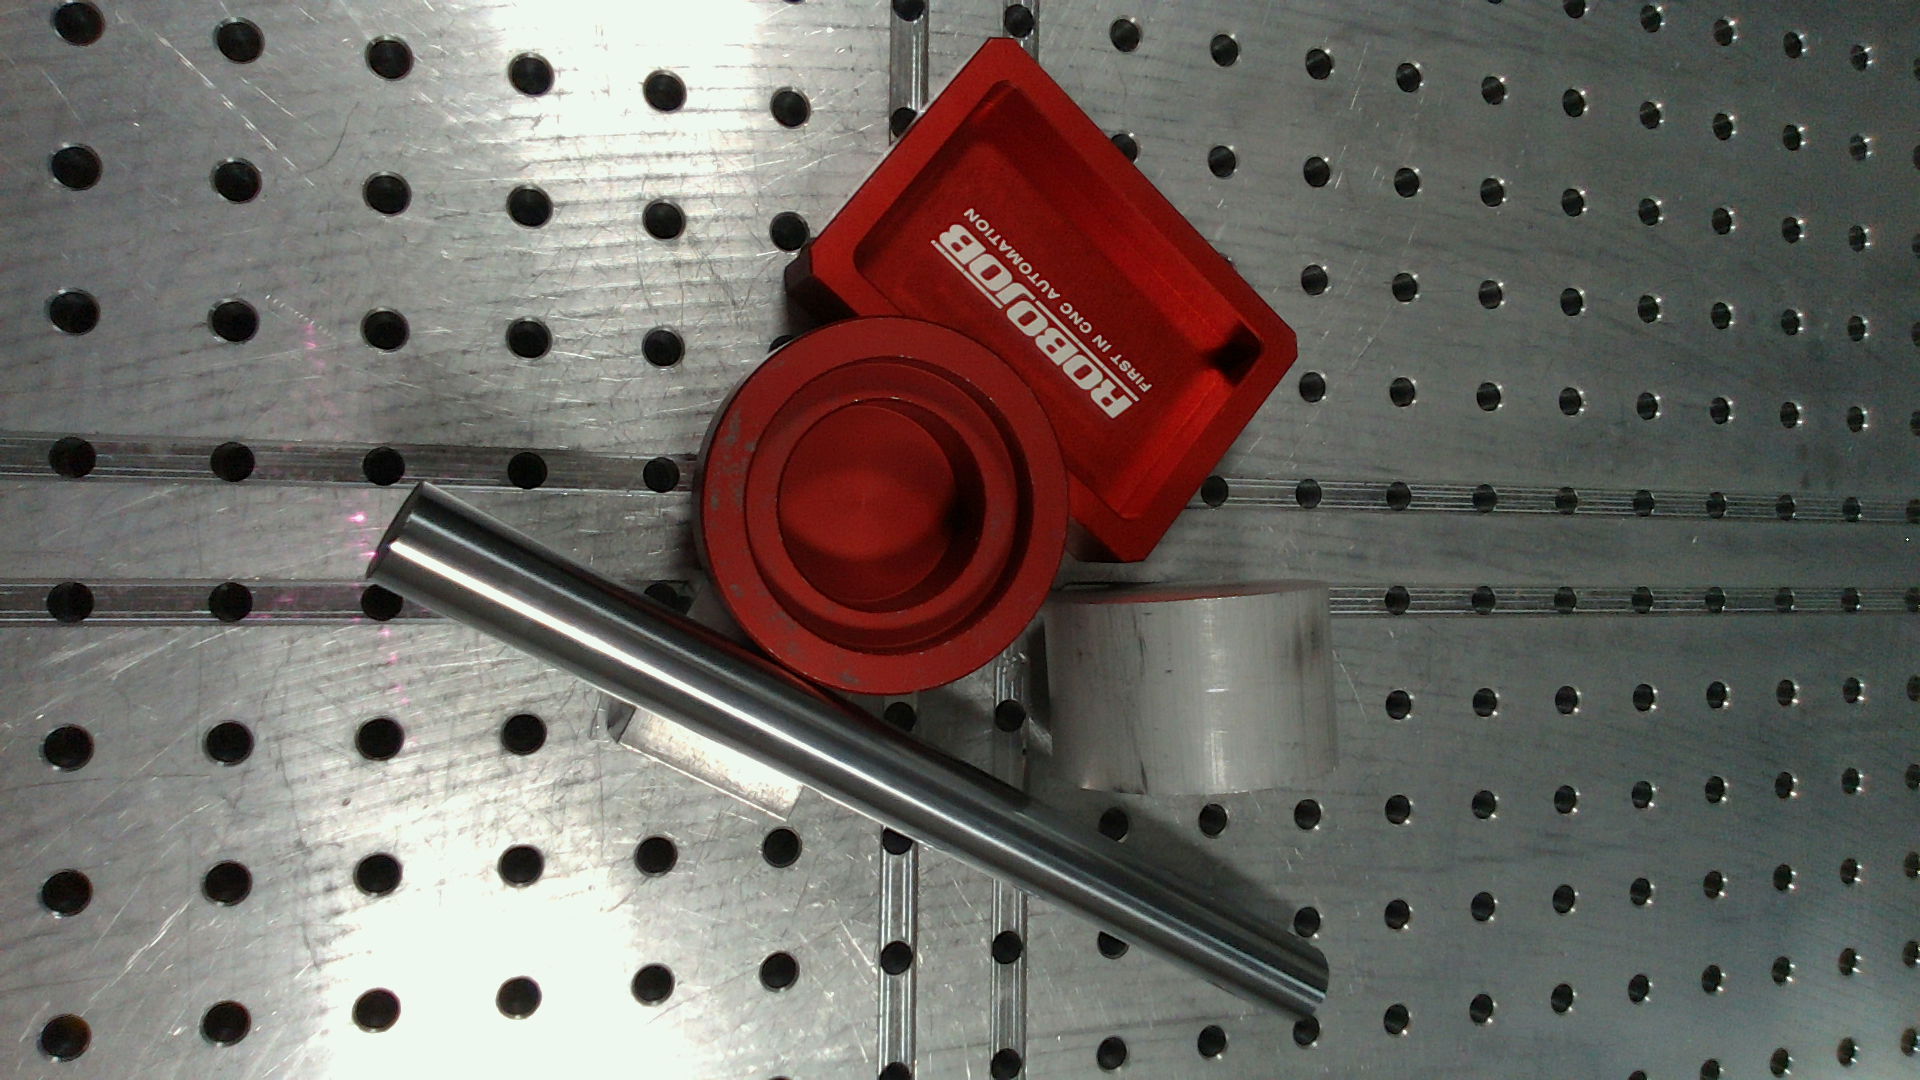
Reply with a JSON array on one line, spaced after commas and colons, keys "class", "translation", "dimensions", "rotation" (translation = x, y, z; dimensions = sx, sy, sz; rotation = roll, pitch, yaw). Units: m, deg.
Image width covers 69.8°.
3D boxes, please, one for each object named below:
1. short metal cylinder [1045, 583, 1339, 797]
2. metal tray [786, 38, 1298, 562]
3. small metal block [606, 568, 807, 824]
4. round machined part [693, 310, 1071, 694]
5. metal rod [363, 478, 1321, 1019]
[{"class": "short metal cylinder", "translation": [0.065, 0.039, 0.389], "dimensions": [0.080, 0.080, 0.050], "rotation": [-4, 92, -20]}, {"class": "metal tray", "translation": [0.026, -0.067, 0.402], "dimensions": [0.130, 0.030, 0.090], "rotation": [42, 77, -15]}, {"class": "small metal block", "translation": [-0.061, 0.042, 0.374], "dimensions": [0.050, 0.025, 0.050], "rotation": [30, 80, -18]}, {"class": "round machined part", "translation": [-0.023, -0.010, 0.370], "dimensions": [0.098, 0.042, 0.098], "rotation": [0, 90, -18]}, {"class": "metal rod", "translation": [-0.011, 0.068, 0.371], "dimensions": [0.301, 0.025, 0.025], "rotation": [32, 80, -26]}]
